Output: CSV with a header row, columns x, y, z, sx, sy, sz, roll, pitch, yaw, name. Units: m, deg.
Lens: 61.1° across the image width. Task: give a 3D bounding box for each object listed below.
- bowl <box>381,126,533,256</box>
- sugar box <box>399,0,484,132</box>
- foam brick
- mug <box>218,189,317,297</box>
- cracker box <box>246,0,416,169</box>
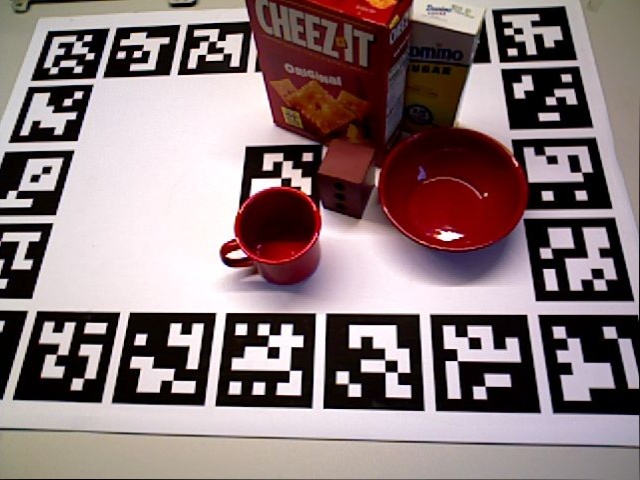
x,y,z,sx,sy,sz,roll,pitch,yaw,name
0.147,-0.044,0.590,0.161,0.056,0.160,-3,64,5,bowl
0.121,-0.196,0.612,0.093,0.179,0.044,19,65,15,sugar box
0.026,-0.069,0.620,0.053,0.079,0.050,14,63,12,foam brick
-0.058,0.009,0.578,0.117,0.083,0.092,-9,54,3,mug
0.009,-0.192,0.602,0.164,0.217,0.071,27,65,17,cracker box
